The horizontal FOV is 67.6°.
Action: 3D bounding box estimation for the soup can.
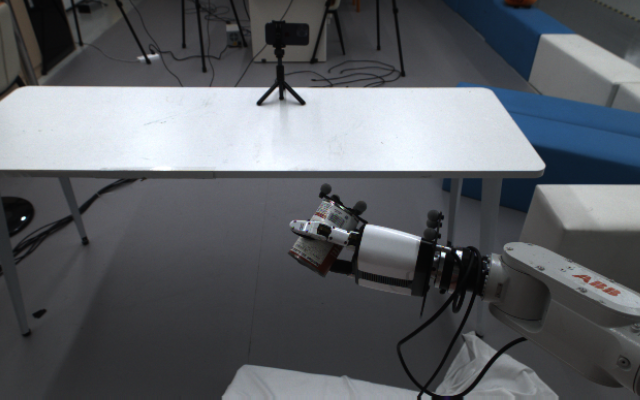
[{"bbox_3d":[0.007,0.059,0.743,0.067,0.067,0.101,27,78,31],"label":"soup can"}]
